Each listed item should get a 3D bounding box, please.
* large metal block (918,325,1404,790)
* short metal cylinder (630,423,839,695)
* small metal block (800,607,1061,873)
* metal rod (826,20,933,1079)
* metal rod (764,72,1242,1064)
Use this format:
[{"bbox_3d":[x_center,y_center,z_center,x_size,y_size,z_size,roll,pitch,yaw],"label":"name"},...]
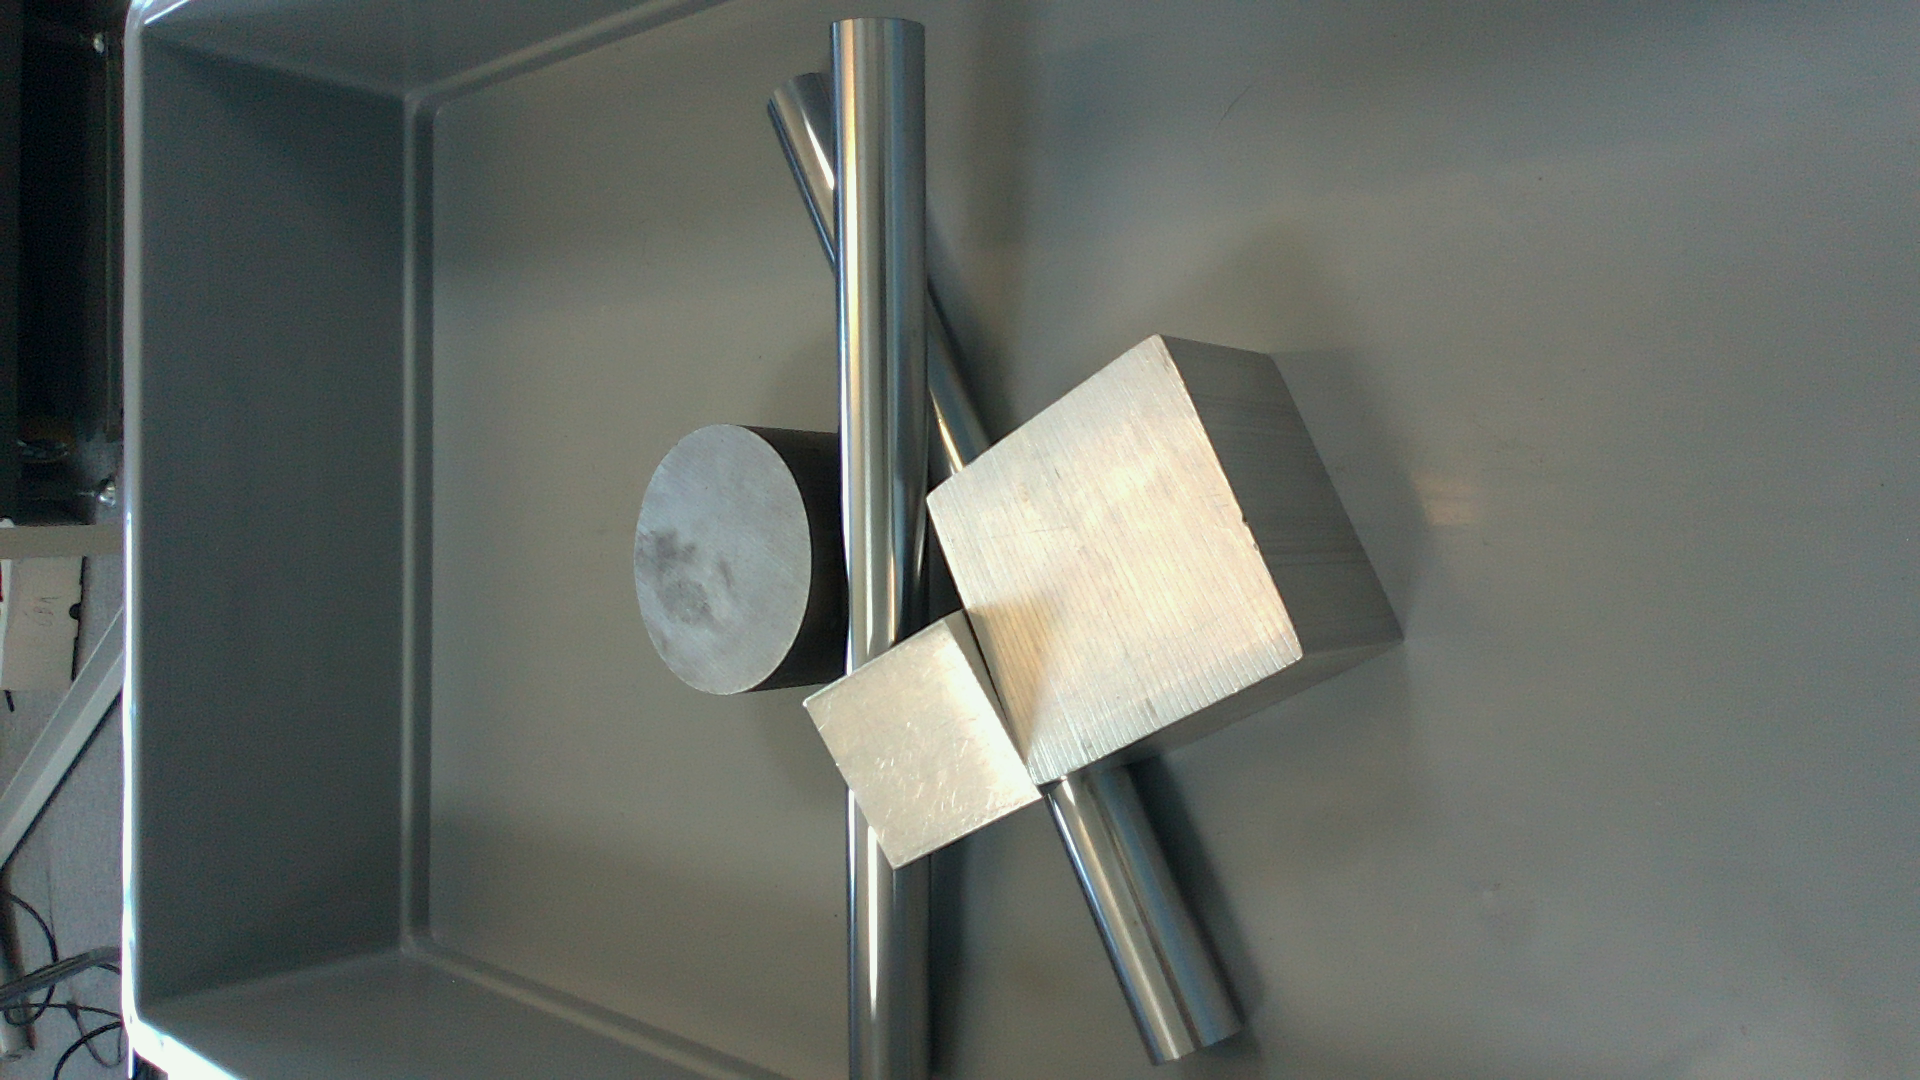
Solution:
[{"bbox_3d":[0.047,0.006,0.337,0.080,0.050,0.080,-34,69,35],"label":"large metal block"},{"bbox_3d":[-0.056,0.005,0.425,0.080,0.050,0.080,0,90,40],"label":"short metal cylinder"},{"bbox_3d":[-0.005,0.050,0.356,0.050,0.025,0.050,-32,85,27],"label":"small metal block"},{"bbox_3d":[-0.021,0.014,0.385,0.025,0.025,0.300,8,103,40],"label":"metal rod"},{"bbox_3d":[0.005,-0.006,0.389,0.025,0.025,0.300,-35,69,35],"label":"metal rod"}]
